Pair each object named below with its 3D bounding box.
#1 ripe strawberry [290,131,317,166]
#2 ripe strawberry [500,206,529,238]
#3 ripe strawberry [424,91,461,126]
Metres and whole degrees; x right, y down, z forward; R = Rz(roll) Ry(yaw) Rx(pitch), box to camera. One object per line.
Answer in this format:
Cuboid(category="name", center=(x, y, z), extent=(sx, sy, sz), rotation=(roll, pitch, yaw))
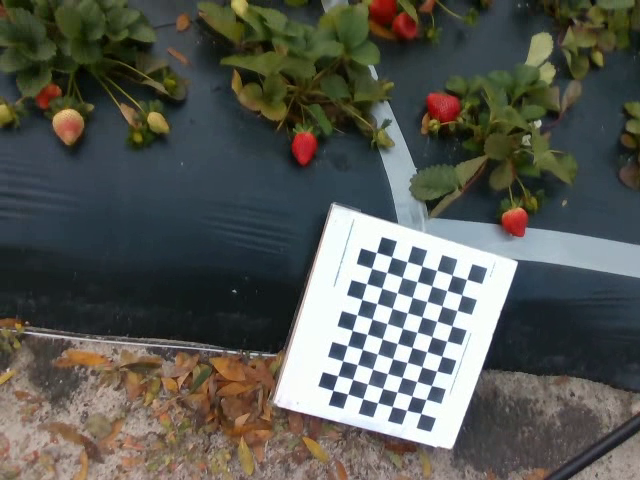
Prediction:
Cuboid(category="ripe strawberry", center=(-0.019, -0.111, 0.778), extent=(0.036, 0.046, 0.040), rotation=(2, -36, 2))
Cuboid(category="ripe strawberry", center=(0.262, -0.021, 0.866), extent=(0.039, 0.047, 0.041), rotation=(-18, 4, 5))
Cuboid(category="ripe strawberry", center=(0.169, -0.185, 0.882), extent=(0.062, 0.043, 0.043), rotation=(36, 9, -5))
